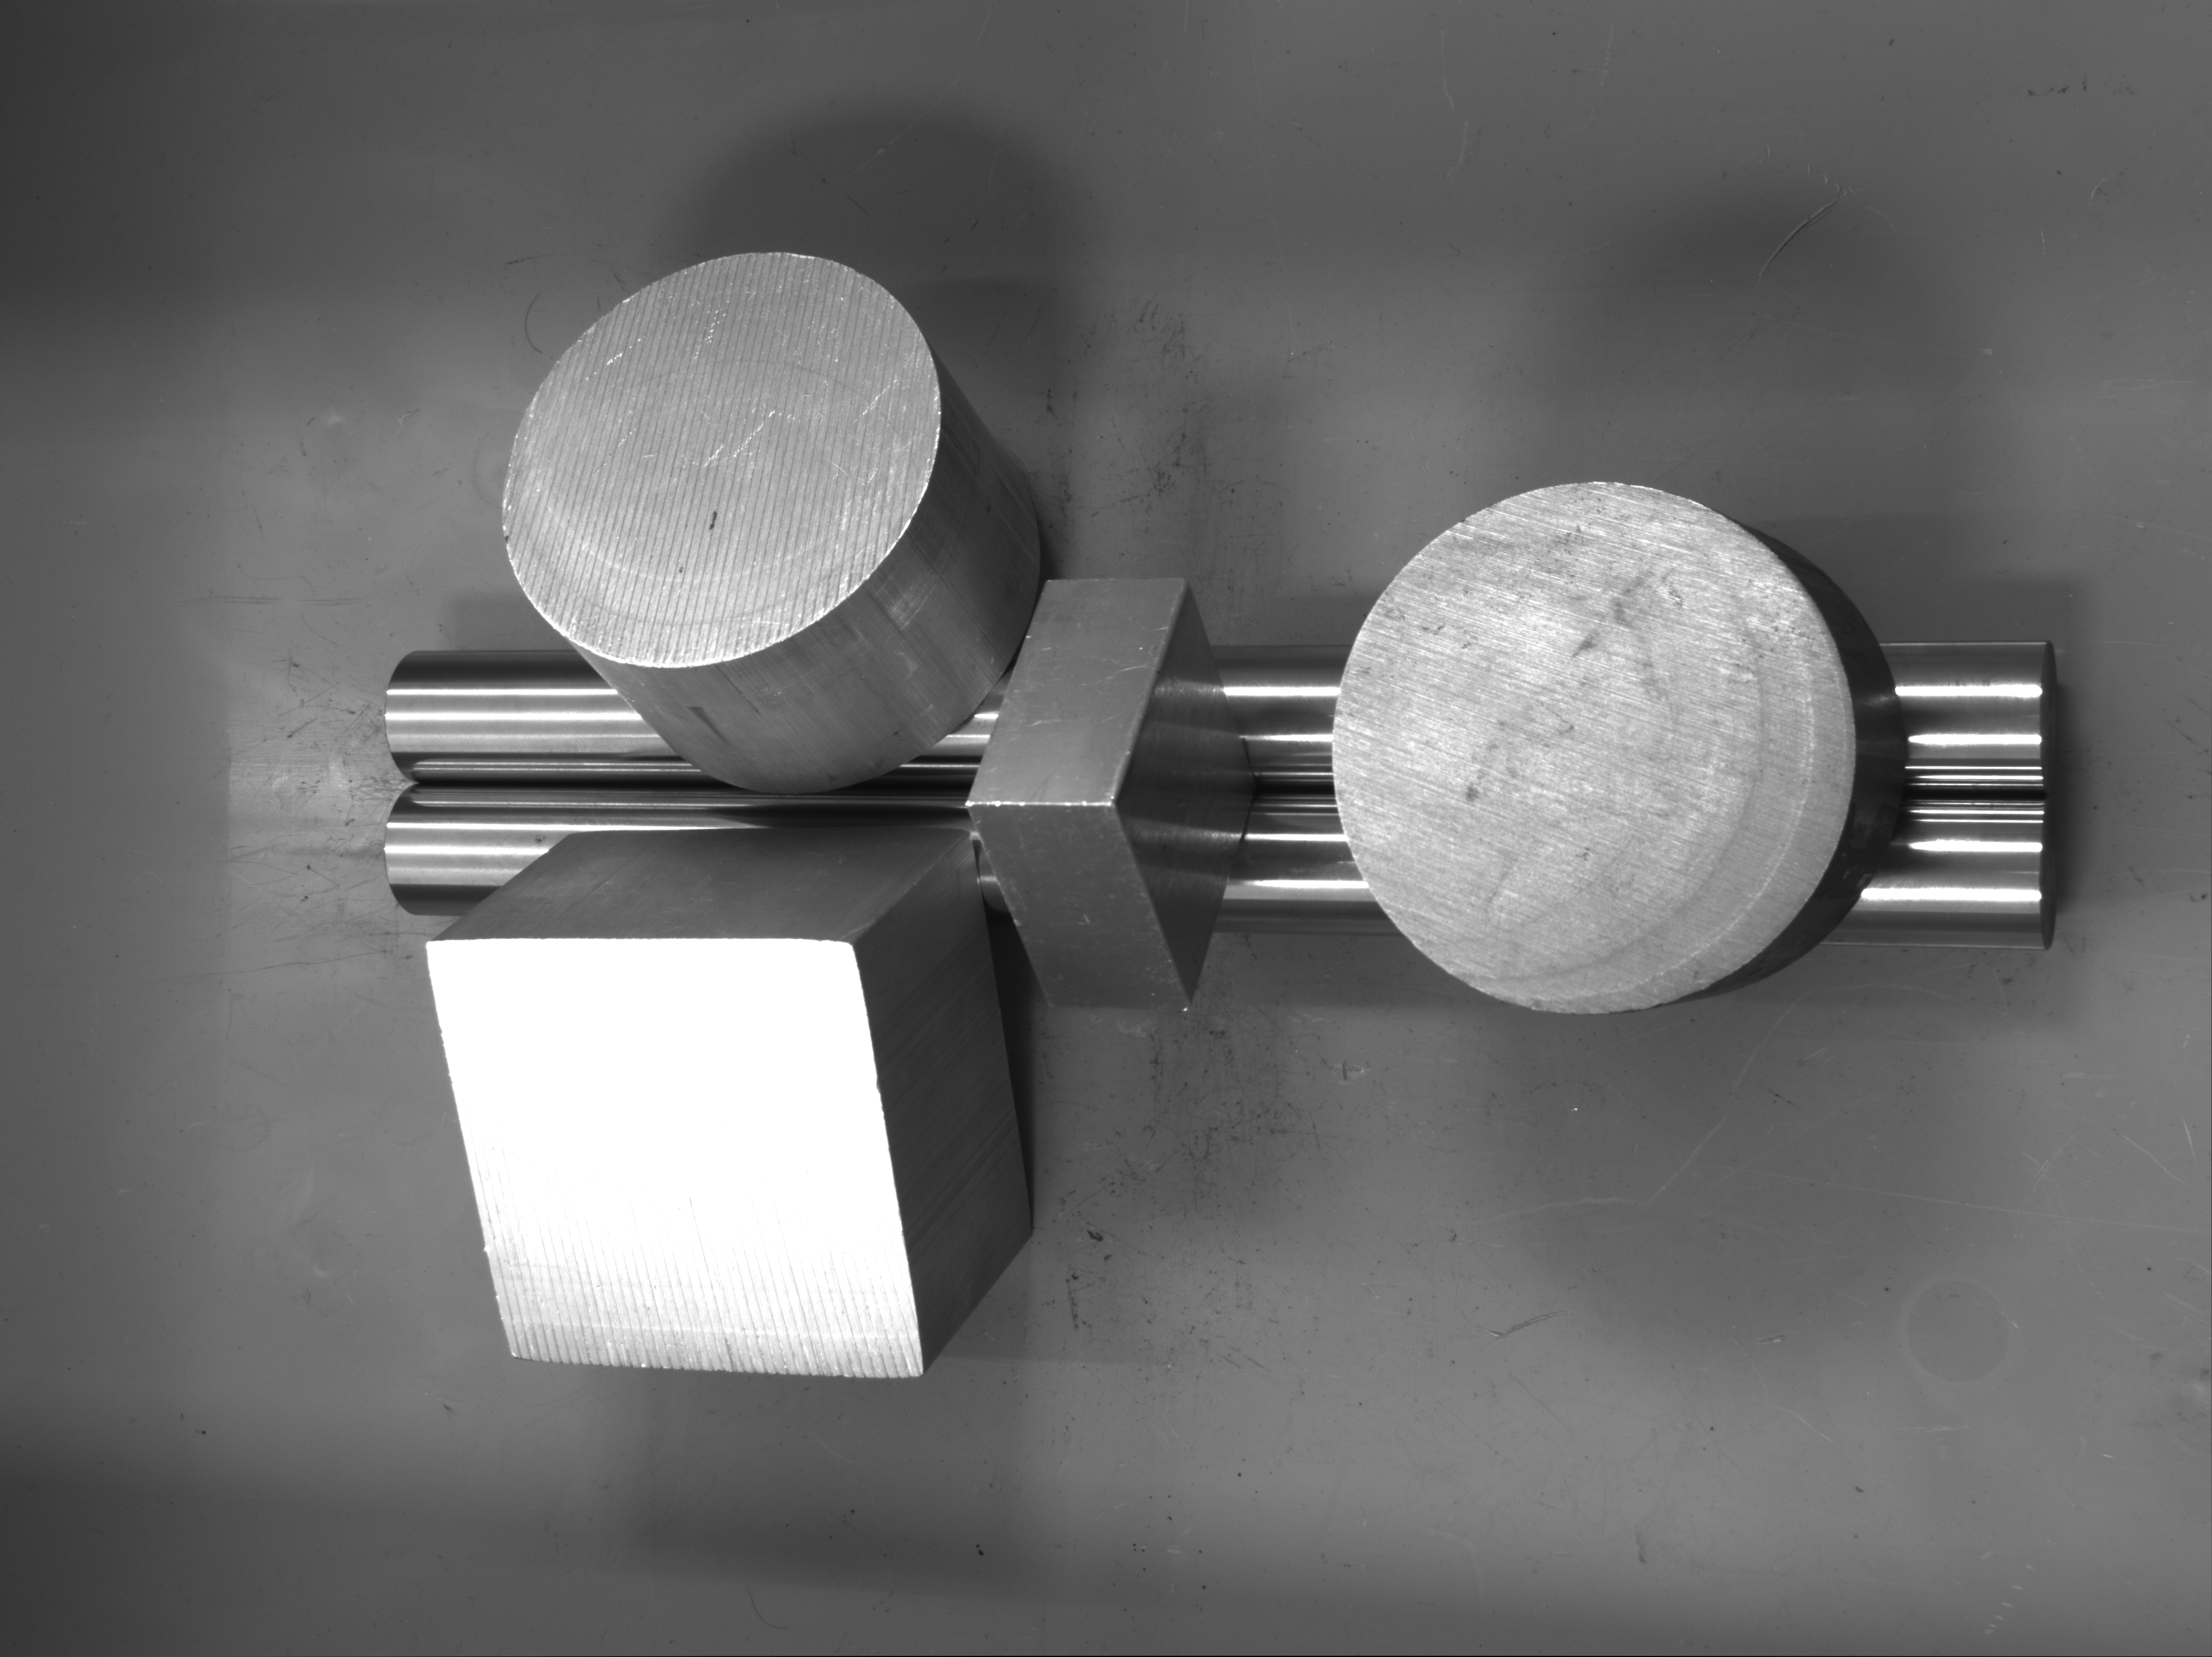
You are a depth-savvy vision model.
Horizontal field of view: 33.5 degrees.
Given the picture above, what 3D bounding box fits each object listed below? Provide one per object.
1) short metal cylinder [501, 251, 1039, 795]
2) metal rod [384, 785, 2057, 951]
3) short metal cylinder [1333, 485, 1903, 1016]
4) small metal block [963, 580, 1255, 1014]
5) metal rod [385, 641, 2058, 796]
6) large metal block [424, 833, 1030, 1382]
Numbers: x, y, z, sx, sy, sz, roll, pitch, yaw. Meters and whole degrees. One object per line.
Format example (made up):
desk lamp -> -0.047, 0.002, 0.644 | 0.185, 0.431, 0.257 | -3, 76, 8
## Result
short metal cylinder -> -0.058, -0.053, 0.638 | 0.080, 0.050, 0.080 | -8, 63, 16
metal rod -> 0.011, 0.006, 0.642 | 0.299, 0.025, 0.025 | 1, 90, 20
short metal cylinder -> 0.081, -0.012, 0.576 | 0.080, 0.050, 0.080 | 0, 90, 20
small metal block -> 0.002, -0.005, 0.602 | 0.025, 0.050, 0.050 | 1, 48, 20
metal rod -> 0.011, -0.019, 0.642 | 0.299, 0.025, 0.025 | 1, 90, 20
large metal block -> -0.064, 0.047, 0.641 | 0.080, 0.050, 0.080 | -1, 110, 20
